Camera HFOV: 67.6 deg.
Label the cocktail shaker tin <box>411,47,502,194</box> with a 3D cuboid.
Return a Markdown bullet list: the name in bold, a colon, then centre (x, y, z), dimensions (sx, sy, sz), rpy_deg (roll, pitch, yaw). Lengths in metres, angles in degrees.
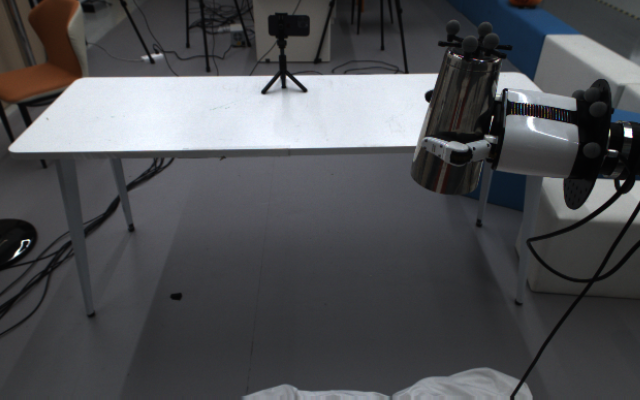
- **cocktail shaker tin**: centre (0.177, -0.104, 0.617), dimensions (0.093, 0.170, 0.093), rpy_deg (3, 34, -2)
